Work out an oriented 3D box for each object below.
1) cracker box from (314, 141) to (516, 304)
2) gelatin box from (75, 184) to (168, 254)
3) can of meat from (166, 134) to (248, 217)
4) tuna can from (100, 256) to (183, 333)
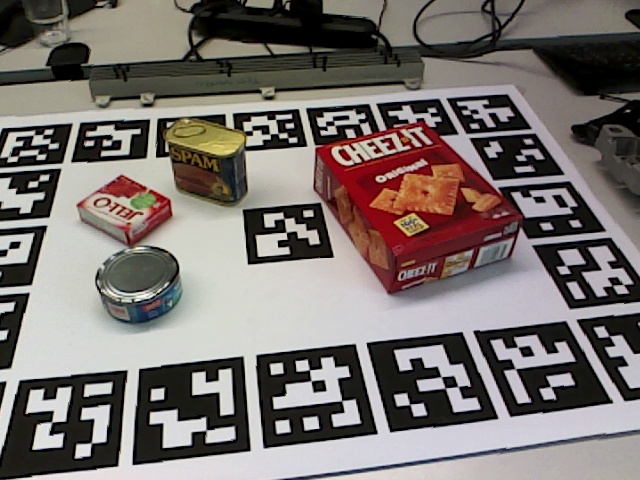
[{"bbox_3d":[0.110,-0.033,0.772,0.163,0.072,0.215,-16,43,-20],"label":"cracker box"},{"bbox_3d":[-0.250,-0.029,0.783,0.090,0.030,0.073,26,44,22],"label":"gelatin box"},{"bbox_3d":[-0.146,-0.084,0.818,0.102,0.083,0.058,14,43,16],"label":"can of meat"},{"bbox_3d":[-0.194,0.059,0.678,0.086,0.033,0.086,0,45,0],"label":"tuna can"}]
